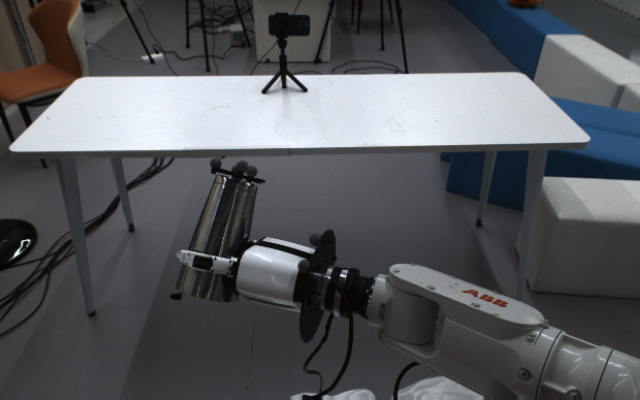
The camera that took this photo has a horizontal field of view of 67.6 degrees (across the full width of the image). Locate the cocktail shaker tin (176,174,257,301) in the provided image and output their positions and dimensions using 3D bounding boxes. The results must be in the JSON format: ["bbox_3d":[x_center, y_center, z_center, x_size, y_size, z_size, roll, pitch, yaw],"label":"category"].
[{"bbox_3d":[-0.144,0.055,0.708,0.093,0.170,0.093,14,-4,1],"label":"cocktail shaker tin"}]
